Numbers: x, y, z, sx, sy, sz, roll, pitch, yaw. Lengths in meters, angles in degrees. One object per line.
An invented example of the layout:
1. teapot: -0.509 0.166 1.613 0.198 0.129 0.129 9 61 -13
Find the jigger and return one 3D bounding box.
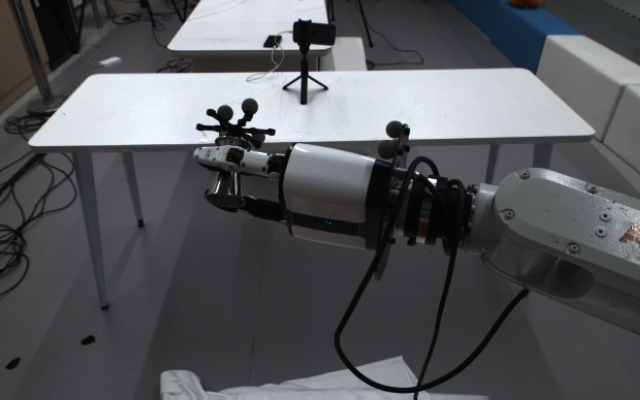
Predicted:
1. jigger: -0.100 -0.031 0.528 0.043 0.043 0.071 4 71 3
